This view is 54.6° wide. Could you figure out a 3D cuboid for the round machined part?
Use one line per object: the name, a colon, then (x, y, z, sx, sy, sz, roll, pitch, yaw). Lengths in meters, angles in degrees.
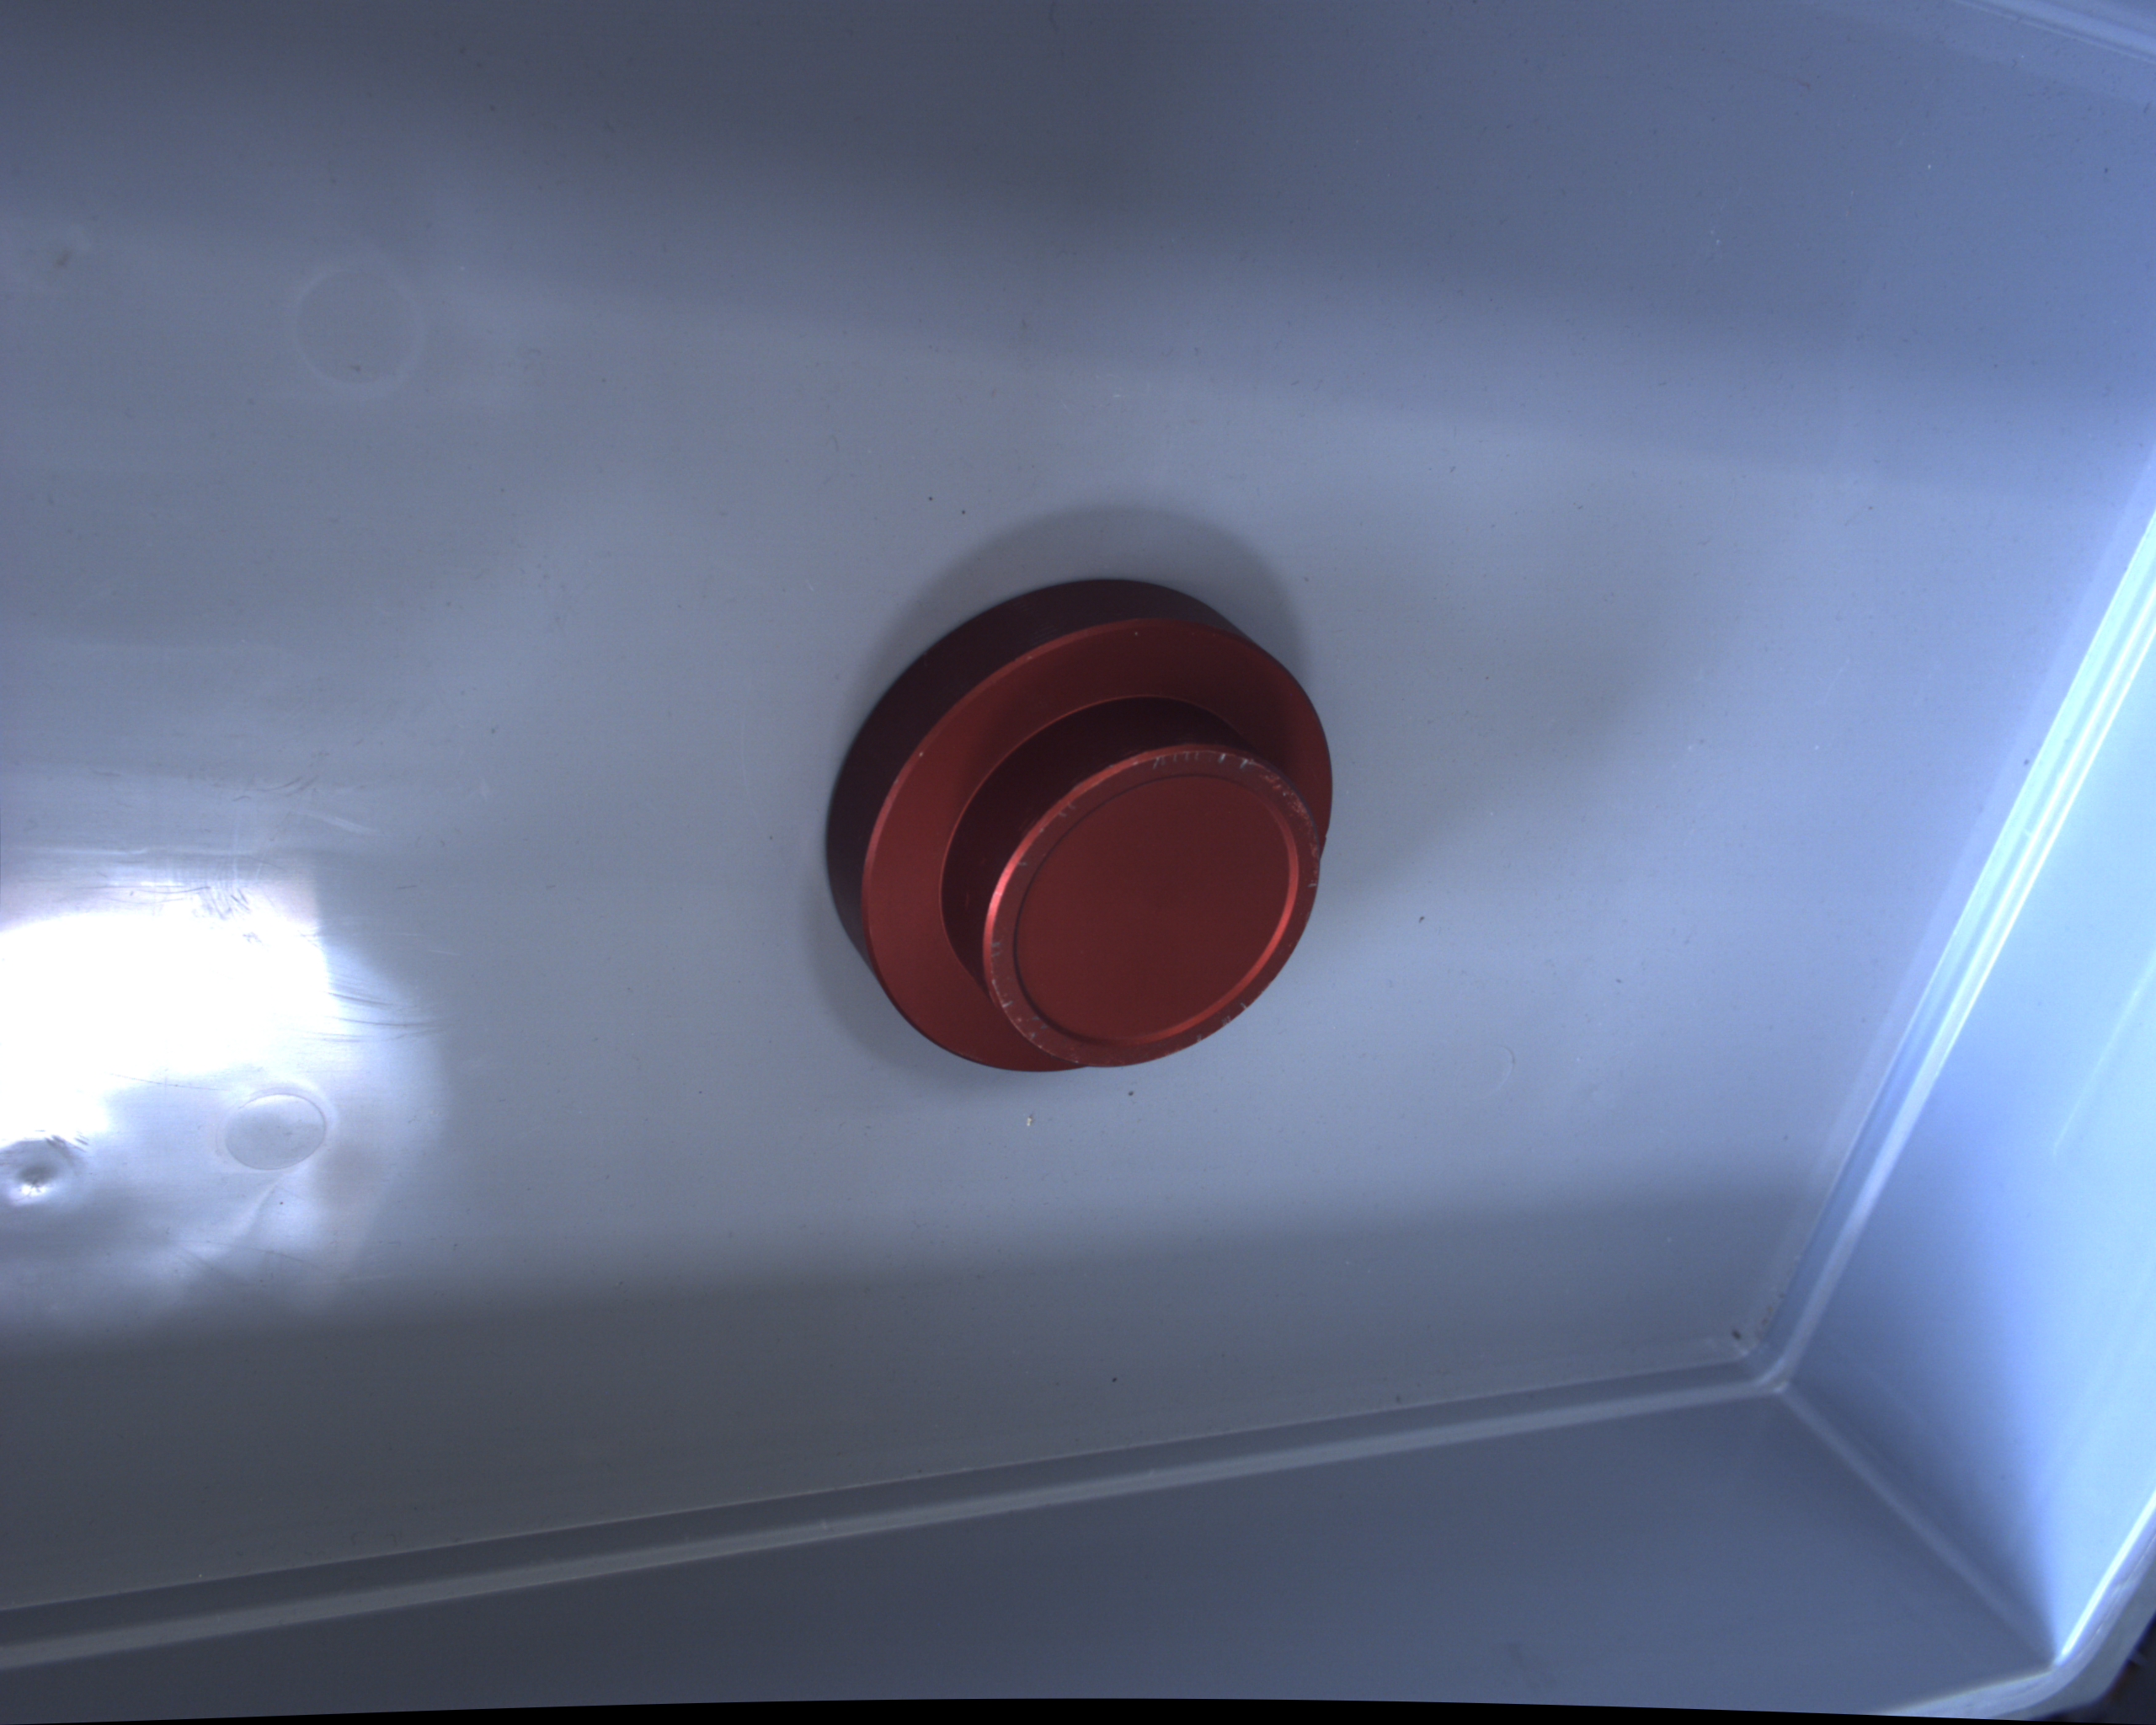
round machined part: (0.006, -0.001, 0.396, 0.099, 0.042, 0.097, -14, 124, -21)
